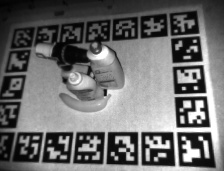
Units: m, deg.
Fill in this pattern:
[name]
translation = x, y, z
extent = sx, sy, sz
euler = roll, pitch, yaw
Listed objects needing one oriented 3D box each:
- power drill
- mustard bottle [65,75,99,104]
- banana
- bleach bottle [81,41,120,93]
[power drill]
translation = -0.151, -0.062, 0.701
extent = 0.183, 0.188, 0.057
euler = 11, 74, 14
[mustard bottle]
translation = -0.111, 0.011, 0.690
extent = 0.096, 0.193, 0.058
euler = -1, 72, 12
[banana]
translation = -0.113, 0.066, 0.765
extent = 0.196, 0.039, 0.074
euler = 3, 74, 15
[bleach bottle]
translation = -0.044, -0.054, 0.672
extent = 0.102, 0.253, 0.068
euler = 1, 67, 14
